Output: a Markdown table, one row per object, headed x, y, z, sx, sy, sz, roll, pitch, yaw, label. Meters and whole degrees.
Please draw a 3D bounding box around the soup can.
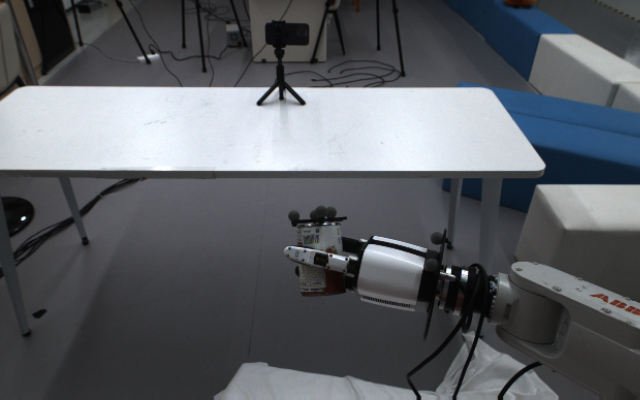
| x | y | z | sx | sy | sz | roll | pitch | yaw | label |
| --- | --- | --- | --- | --- | --- | --- | --- | --- | --- |
| 0.003 | 0.086 | 0.706 | 0.067 | 0.101 | 0.067 | -5 | -5 | 0 | soup can |
